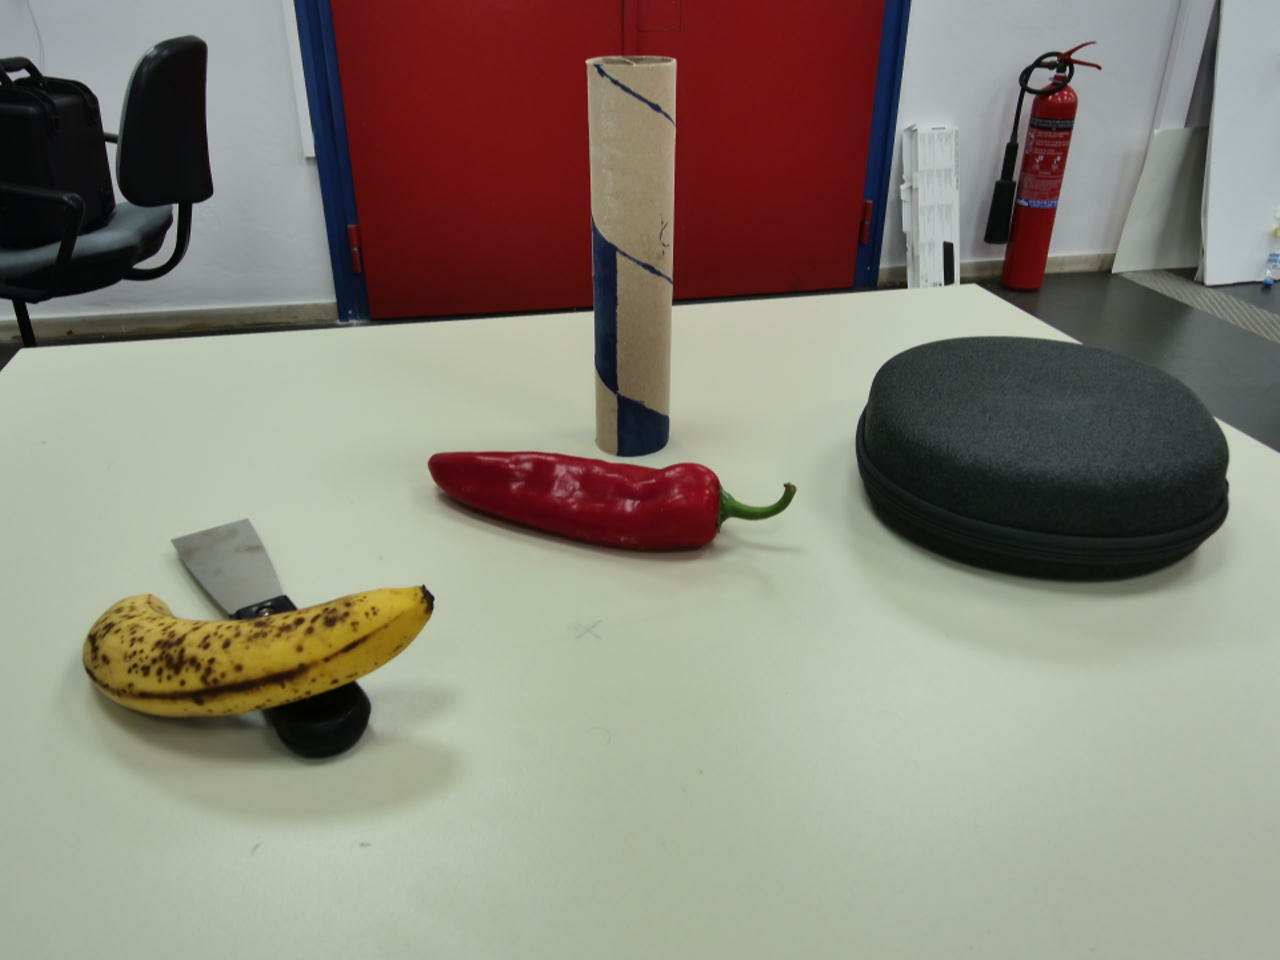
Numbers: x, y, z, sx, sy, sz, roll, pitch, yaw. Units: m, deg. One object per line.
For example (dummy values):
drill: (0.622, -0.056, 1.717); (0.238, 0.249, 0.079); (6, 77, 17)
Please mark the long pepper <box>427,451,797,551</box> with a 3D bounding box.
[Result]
long pepper: (-0.025, 0.007, 0.529); (0.211, 0.043, 0.050); (9, 27, 17)
